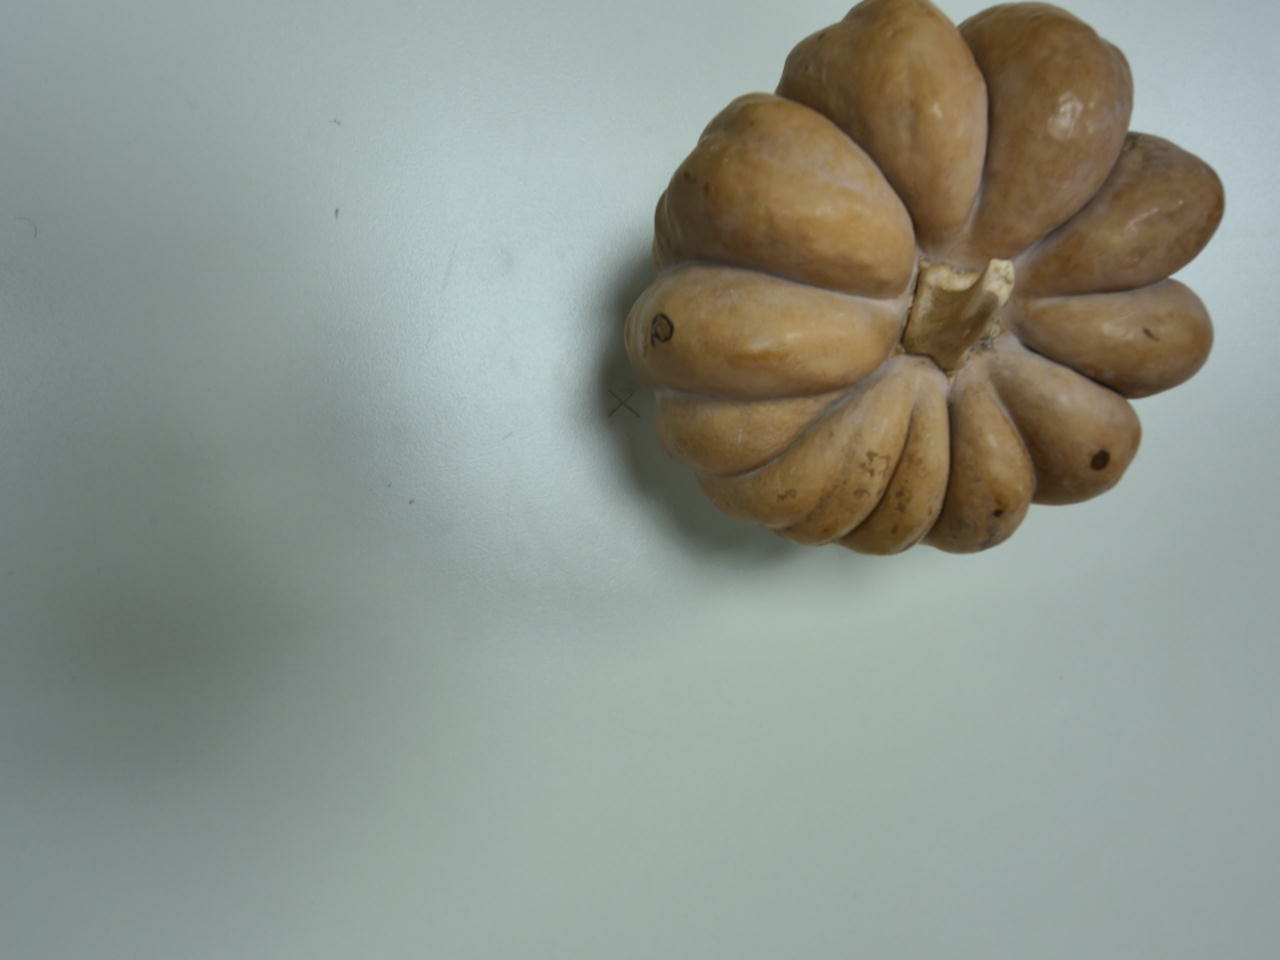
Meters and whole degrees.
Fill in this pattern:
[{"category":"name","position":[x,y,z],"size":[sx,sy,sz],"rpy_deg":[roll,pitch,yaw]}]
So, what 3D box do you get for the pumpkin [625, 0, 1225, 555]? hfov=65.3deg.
[{"category":"pumpkin","position":[0.093,-0.066,0.369],"size":[0.199,0.177,0.198],"rpy_deg":[0,91,-12]}]
